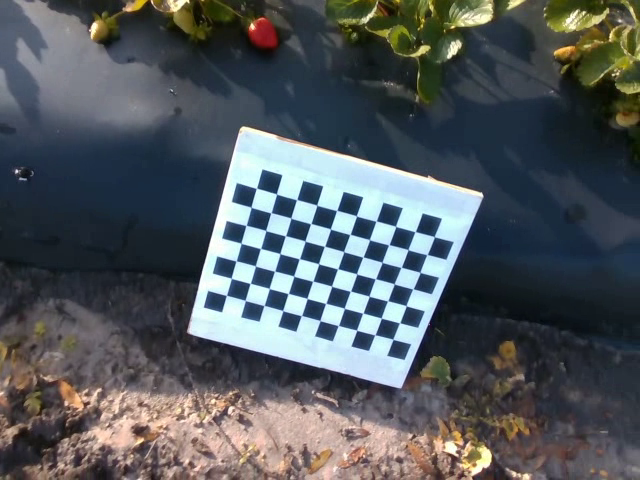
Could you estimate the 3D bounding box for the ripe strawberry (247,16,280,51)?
[{"bbox_3d":[-0.062,-0.224,0.618,0.030,0.045,0.033,-42,-17,18],"label":"ripe strawberry"}]
